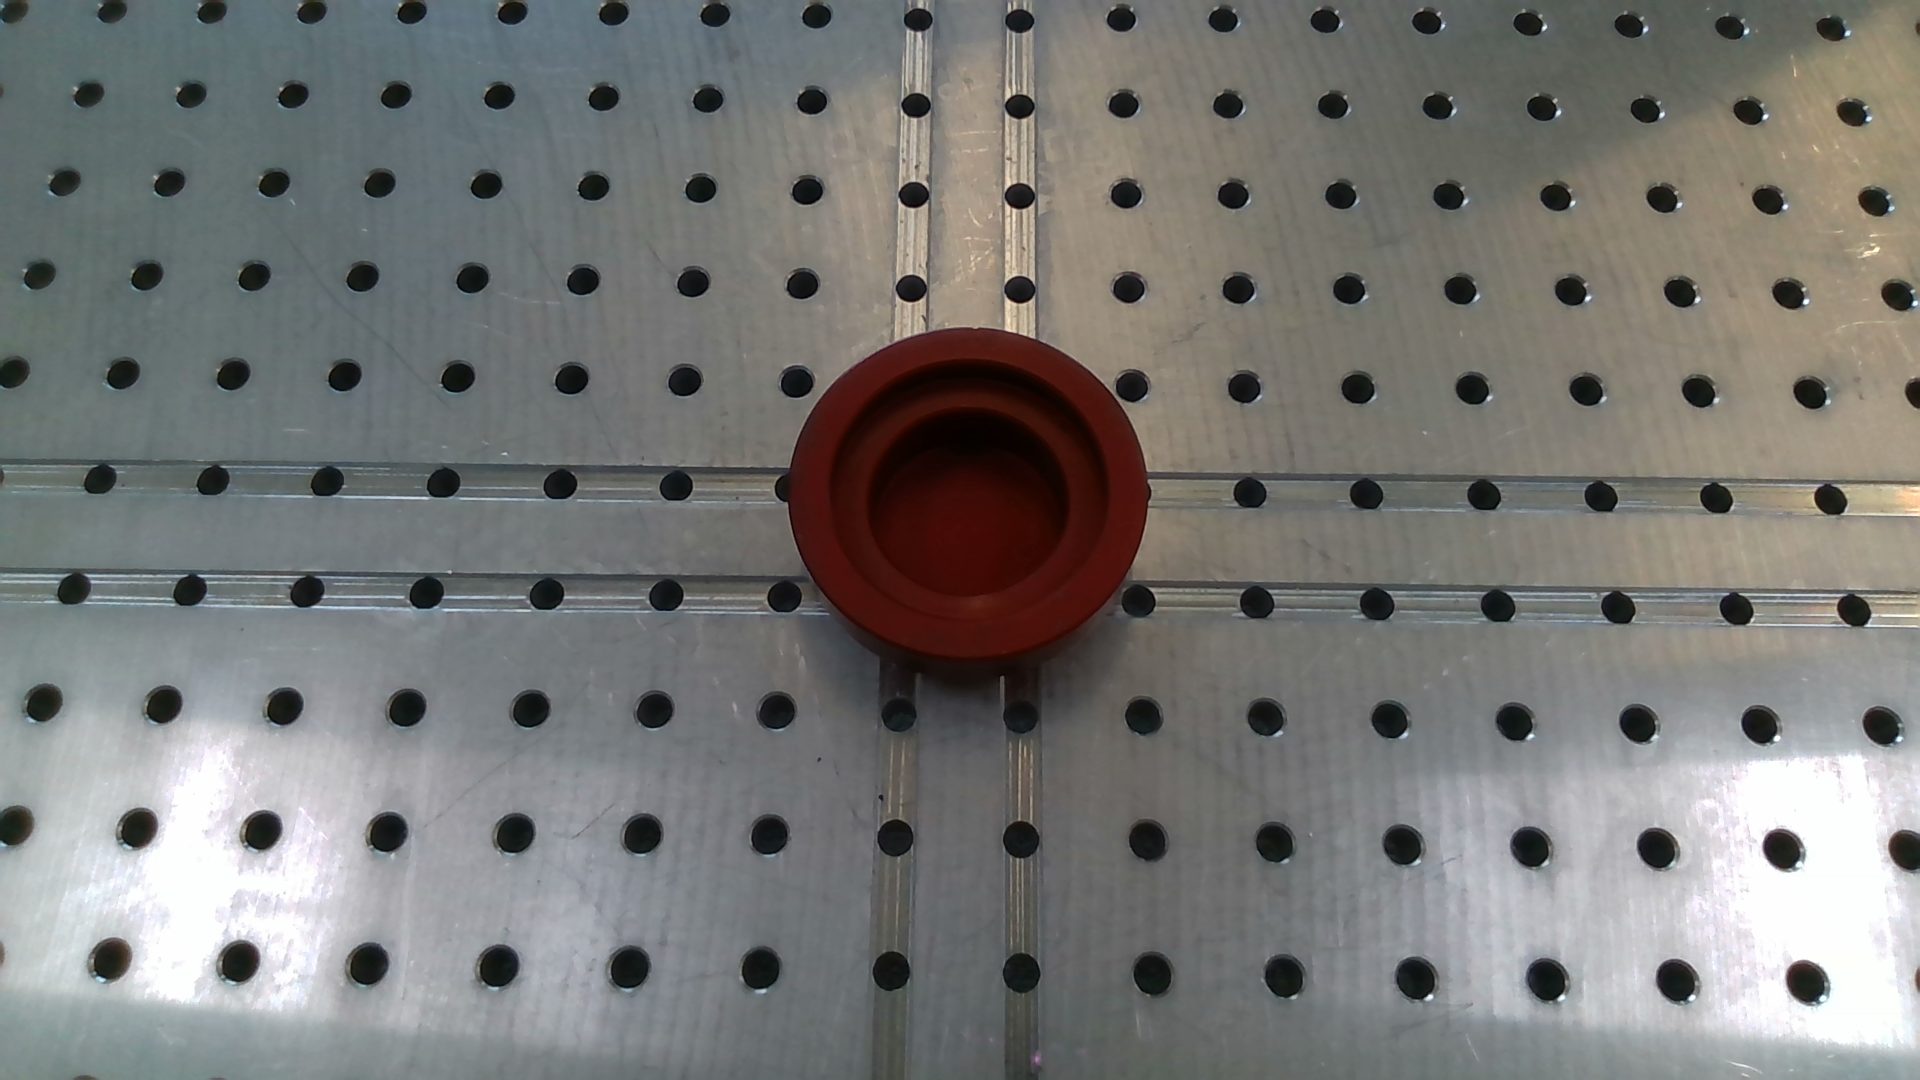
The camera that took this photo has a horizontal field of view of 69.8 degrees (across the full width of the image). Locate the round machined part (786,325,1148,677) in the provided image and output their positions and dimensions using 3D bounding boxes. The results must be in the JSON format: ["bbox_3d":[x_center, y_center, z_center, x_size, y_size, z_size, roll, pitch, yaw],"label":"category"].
[{"bbox_3d":[0.002,-0.008,0.391,0.098,0.042,0.098,0,70,0],"label":"round machined part"}]
